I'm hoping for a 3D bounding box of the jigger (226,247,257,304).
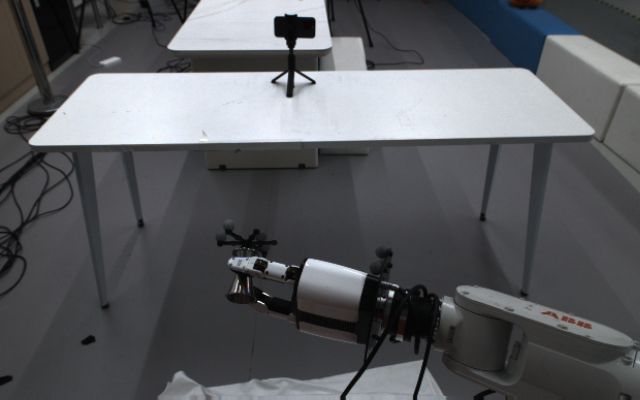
[{"bbox_3d":[-0.107,0.104,0.677,0.043,0.043,0.071,2,59,0],"label":"jigger"}]
